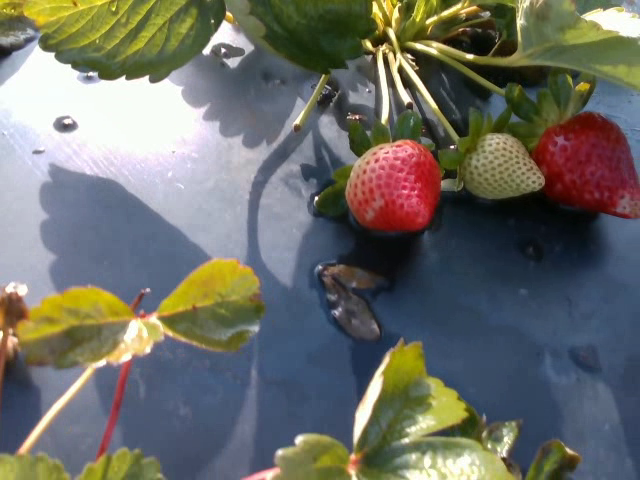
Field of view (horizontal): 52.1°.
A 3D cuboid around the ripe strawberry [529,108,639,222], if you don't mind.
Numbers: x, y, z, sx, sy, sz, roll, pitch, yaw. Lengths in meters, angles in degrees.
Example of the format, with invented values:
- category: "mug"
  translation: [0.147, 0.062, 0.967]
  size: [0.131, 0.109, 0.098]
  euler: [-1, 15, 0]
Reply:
- category: "ripe strawberry"
  translation: [0.124, -0.030, 0.292]
  size: [0.048, 0.065, 0.050]
  euler: [-36, -24, 17]
